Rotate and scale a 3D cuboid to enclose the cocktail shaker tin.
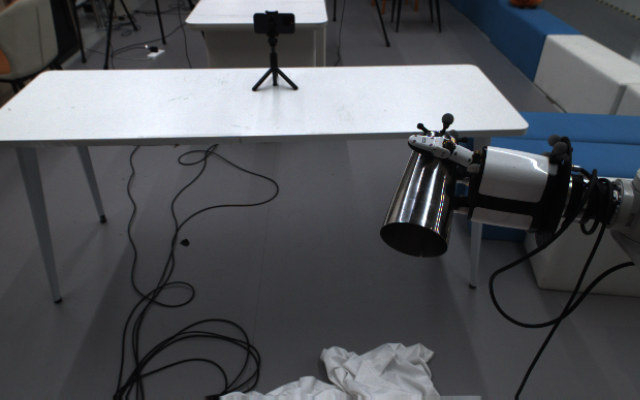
[{"bbox_3d":[0.151,-0.018,0.693,0.093,0.093,0.170,13,59,16],"label":"cocktail shaker tin"}]
